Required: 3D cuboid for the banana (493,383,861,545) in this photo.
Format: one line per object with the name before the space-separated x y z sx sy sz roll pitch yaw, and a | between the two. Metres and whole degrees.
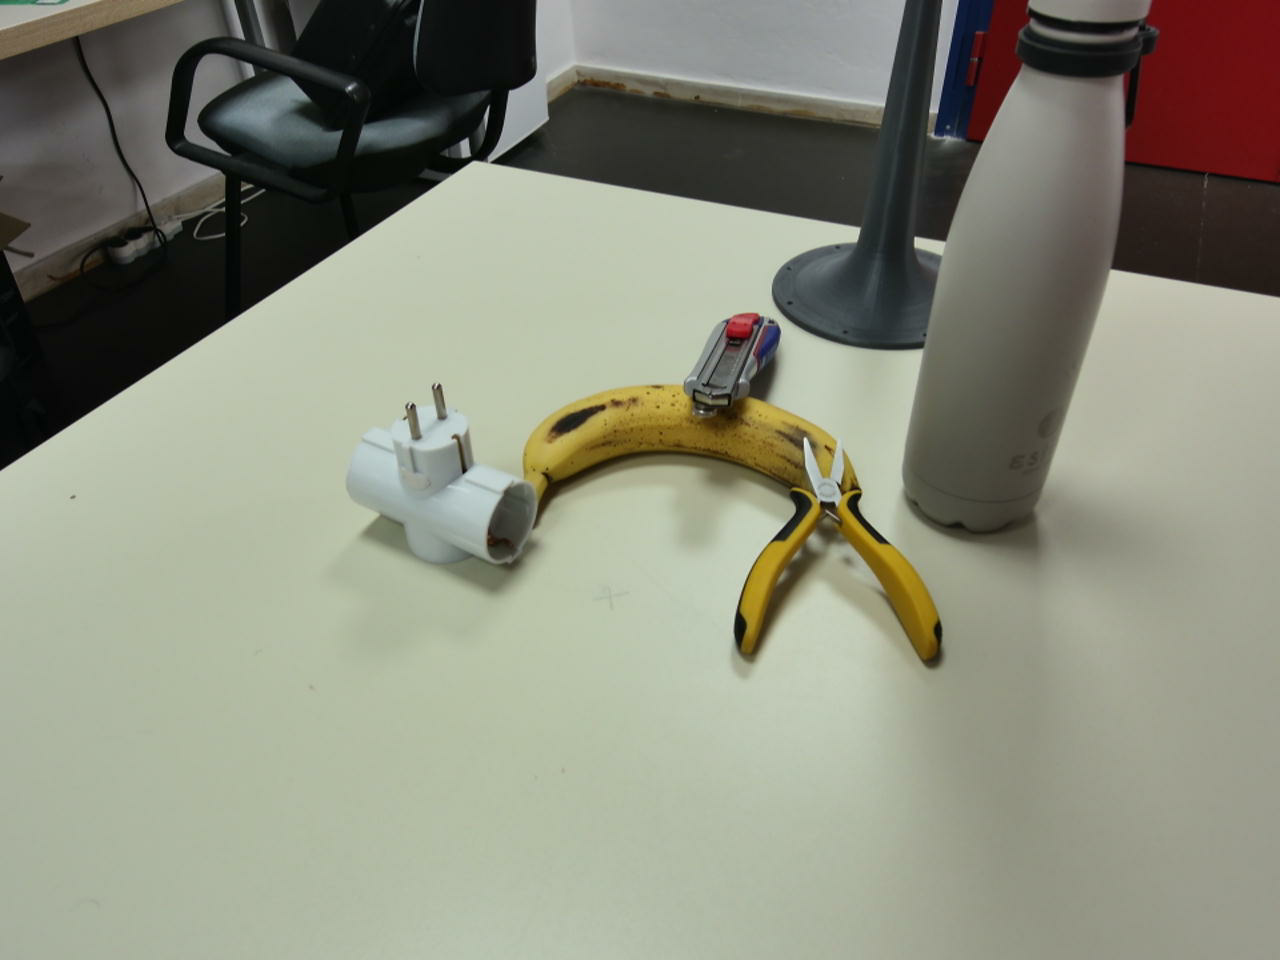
banana | 0.020 -0.016 0.548 0.186 0.038 0.097 -2 38 -1
